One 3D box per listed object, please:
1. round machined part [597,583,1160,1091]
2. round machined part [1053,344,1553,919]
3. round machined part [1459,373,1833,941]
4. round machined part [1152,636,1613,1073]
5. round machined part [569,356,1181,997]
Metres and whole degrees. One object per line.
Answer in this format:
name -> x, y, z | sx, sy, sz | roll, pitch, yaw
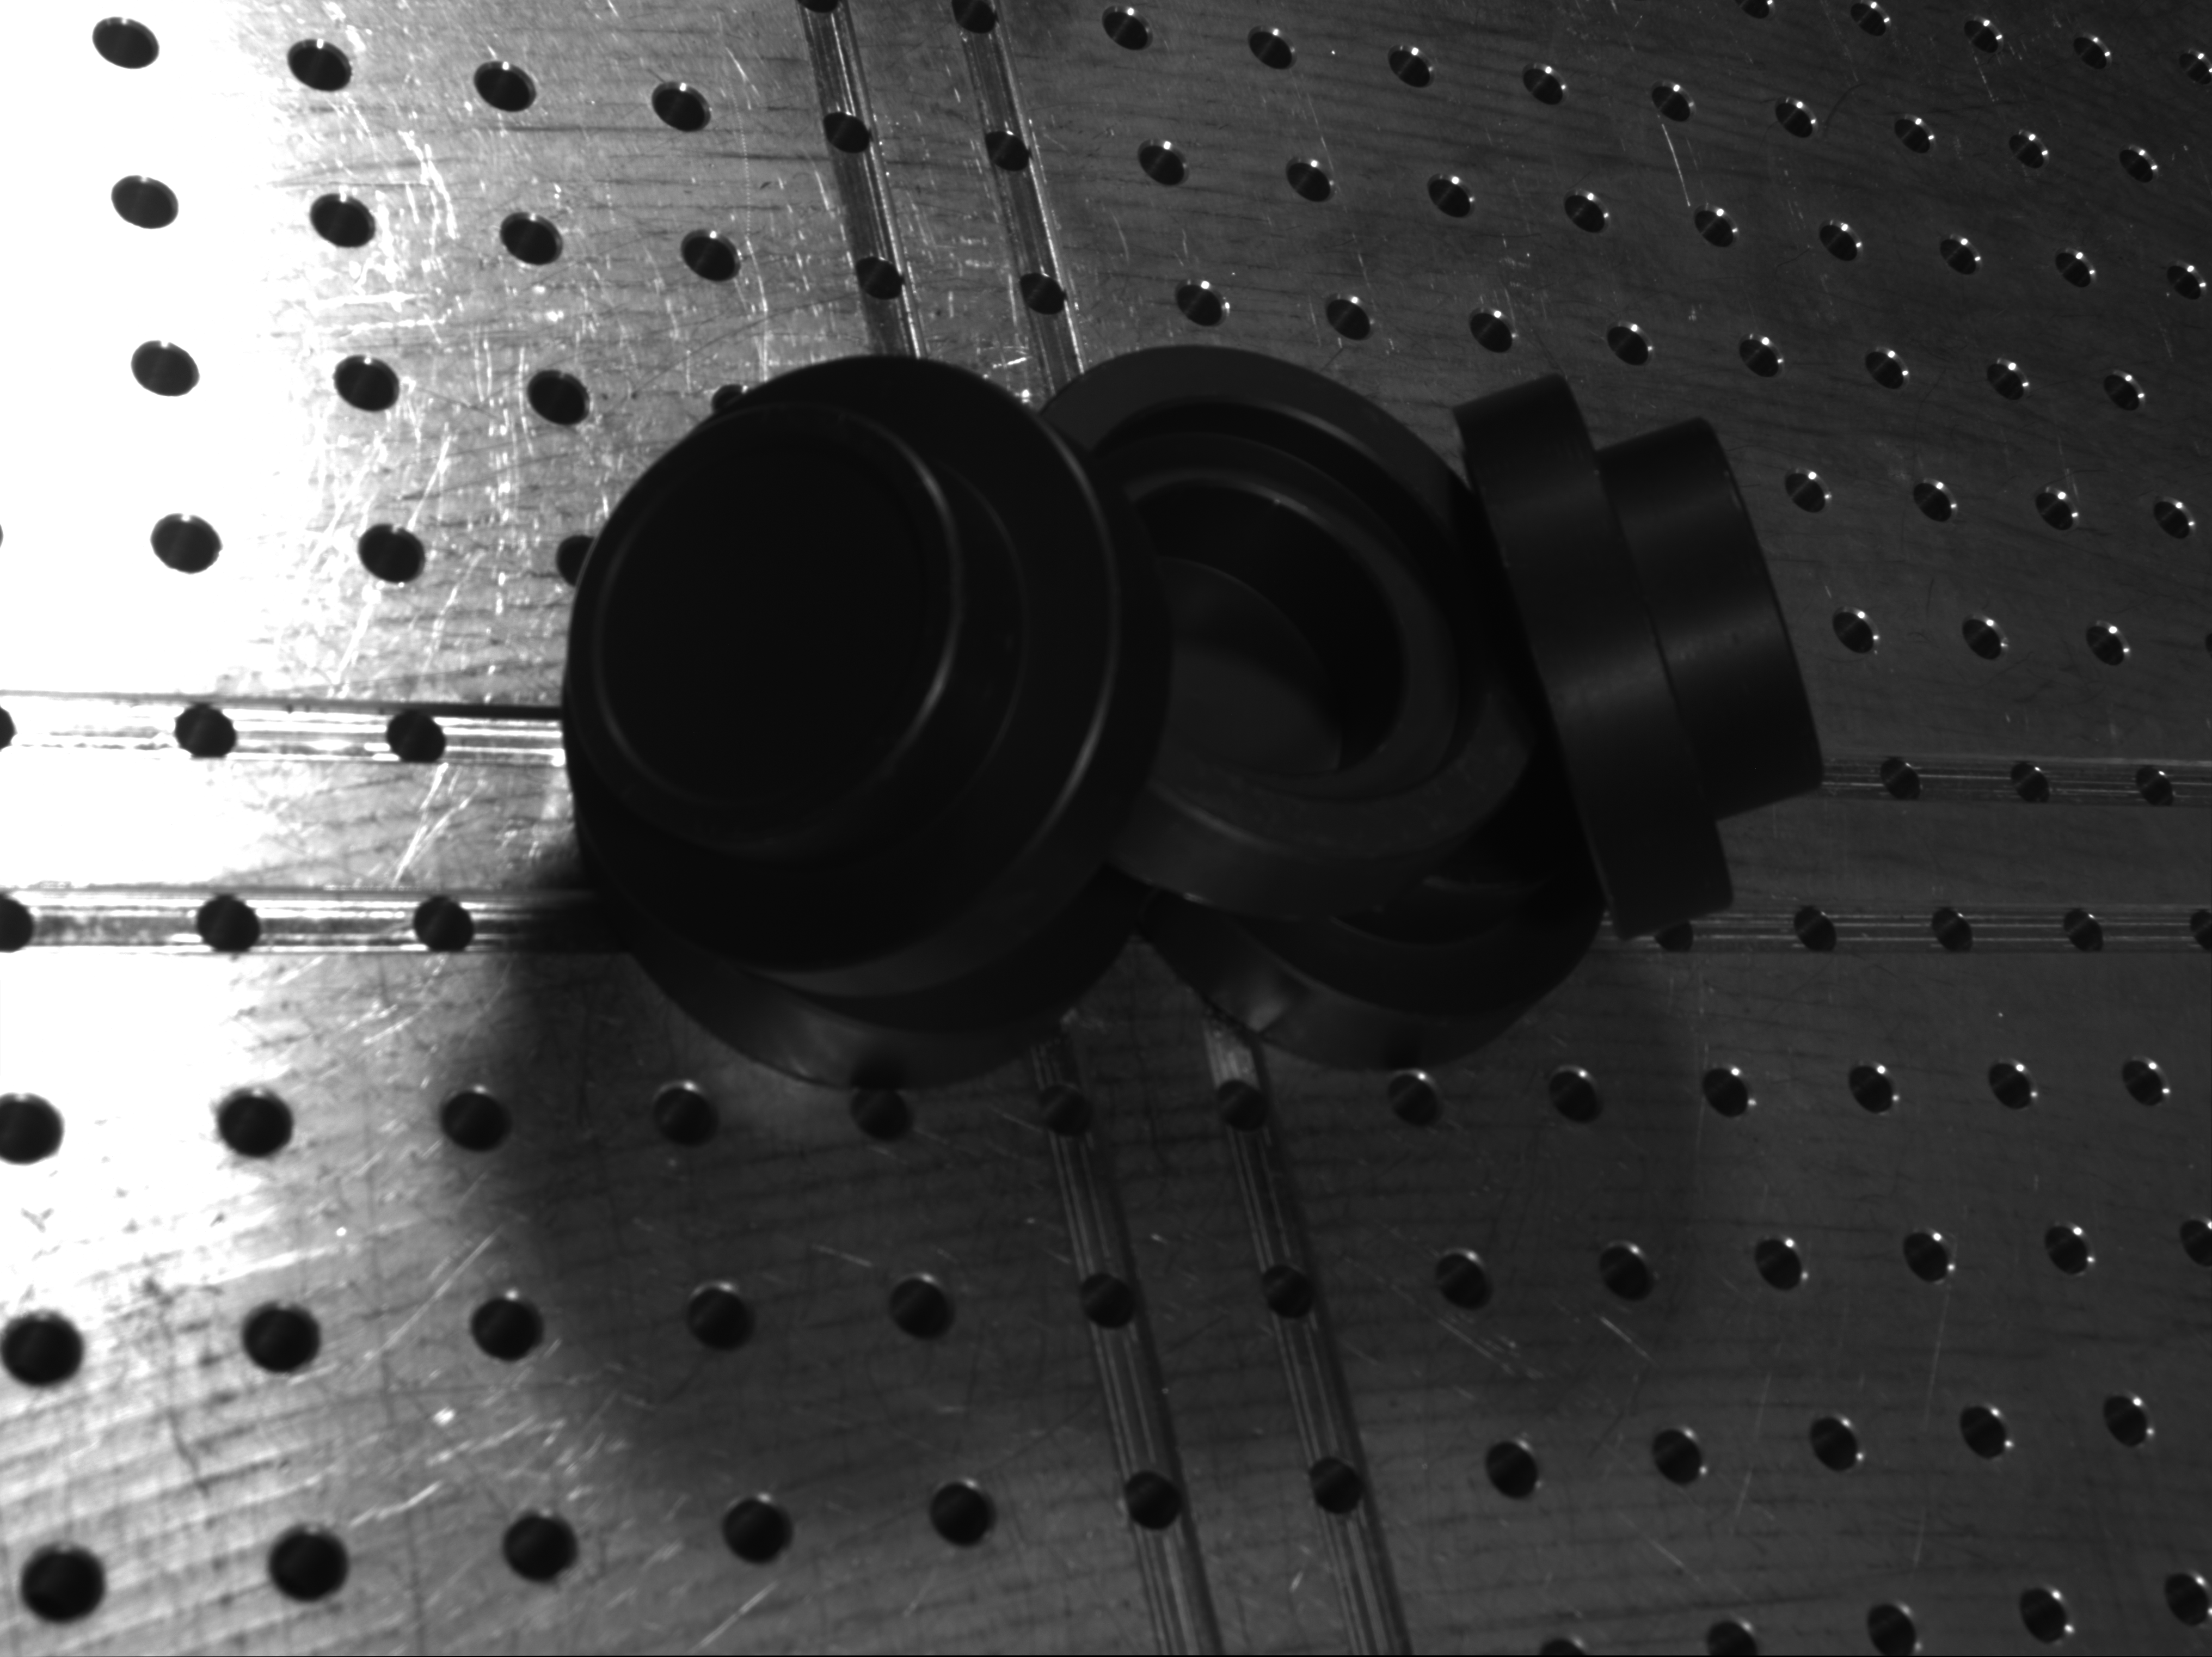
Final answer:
round machined part -> -0.034, -0.009, 0.618 | 0.098, 0.042, 0.098 | 14, 56, -21
round machined part -> 0.023, -0.028, 0.606 | 0.098, 0.042, 0.098 | 14, 56, -21
round machined part -> 0.096, -0.033, 0.638 | 0.042, 0.098, 0.098 | -18, 65, 8
round machined part -> 0.052, -0.009, 0.665 | 0.098, 0.042, 0.098 | 14, 56, -21
round machined part -> -0.041, -0.026, 0.560 | 0.042, 0.098, 0.098 | 27, 40, -61
